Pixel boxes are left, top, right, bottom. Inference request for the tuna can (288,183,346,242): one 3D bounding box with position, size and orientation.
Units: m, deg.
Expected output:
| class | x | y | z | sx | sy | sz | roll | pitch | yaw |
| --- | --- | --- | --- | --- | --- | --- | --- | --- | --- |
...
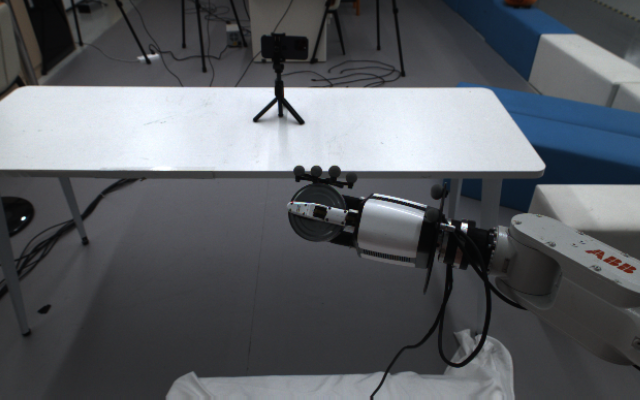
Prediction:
| class | x | y | z | sx | sy | sz | roll | pitch | yaw |
| --- | --- | --- | --- | --- | --- | --- | --- | --- | --- |
| tuna can | -0.001 | 0.018 | 0.709 | 0.085 | 0.085 | 0.034 | 11 | -7 | 13 |
